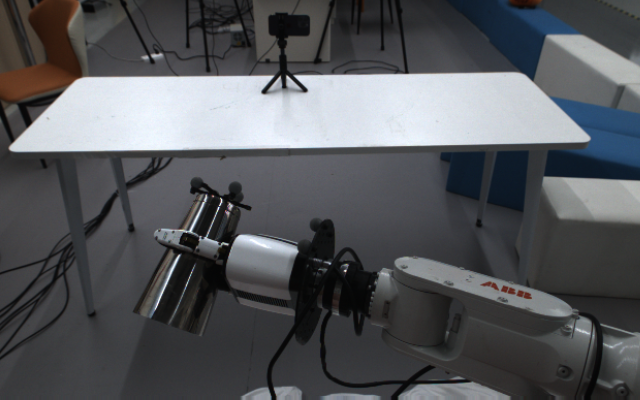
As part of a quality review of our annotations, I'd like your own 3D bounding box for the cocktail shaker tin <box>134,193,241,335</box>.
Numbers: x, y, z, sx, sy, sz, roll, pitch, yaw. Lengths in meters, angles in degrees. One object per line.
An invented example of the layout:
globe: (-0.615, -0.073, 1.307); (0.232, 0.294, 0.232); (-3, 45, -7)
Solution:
cocktail shaker tin: (-0.166, 0.081, 0.636); (0.093, 0.093, 0.170); (13, 70, 16)
